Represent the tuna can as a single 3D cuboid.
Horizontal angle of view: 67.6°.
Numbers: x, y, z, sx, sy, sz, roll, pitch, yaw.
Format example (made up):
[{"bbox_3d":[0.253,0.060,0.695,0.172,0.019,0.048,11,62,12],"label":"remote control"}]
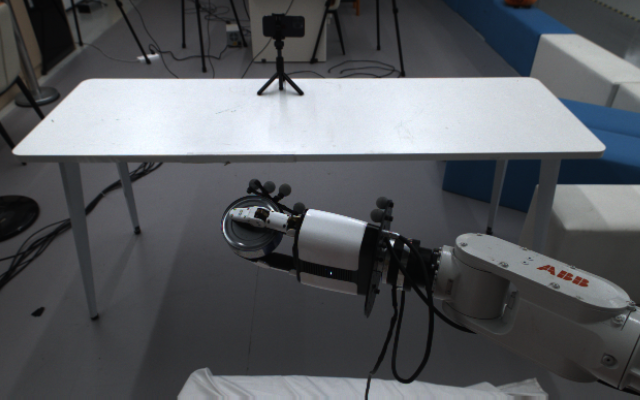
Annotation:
[{"bbox_3d":[-0.094,0.038,0.684,0.085,0.034,0.085,-2,60,3],"label":"tuna can"}]
